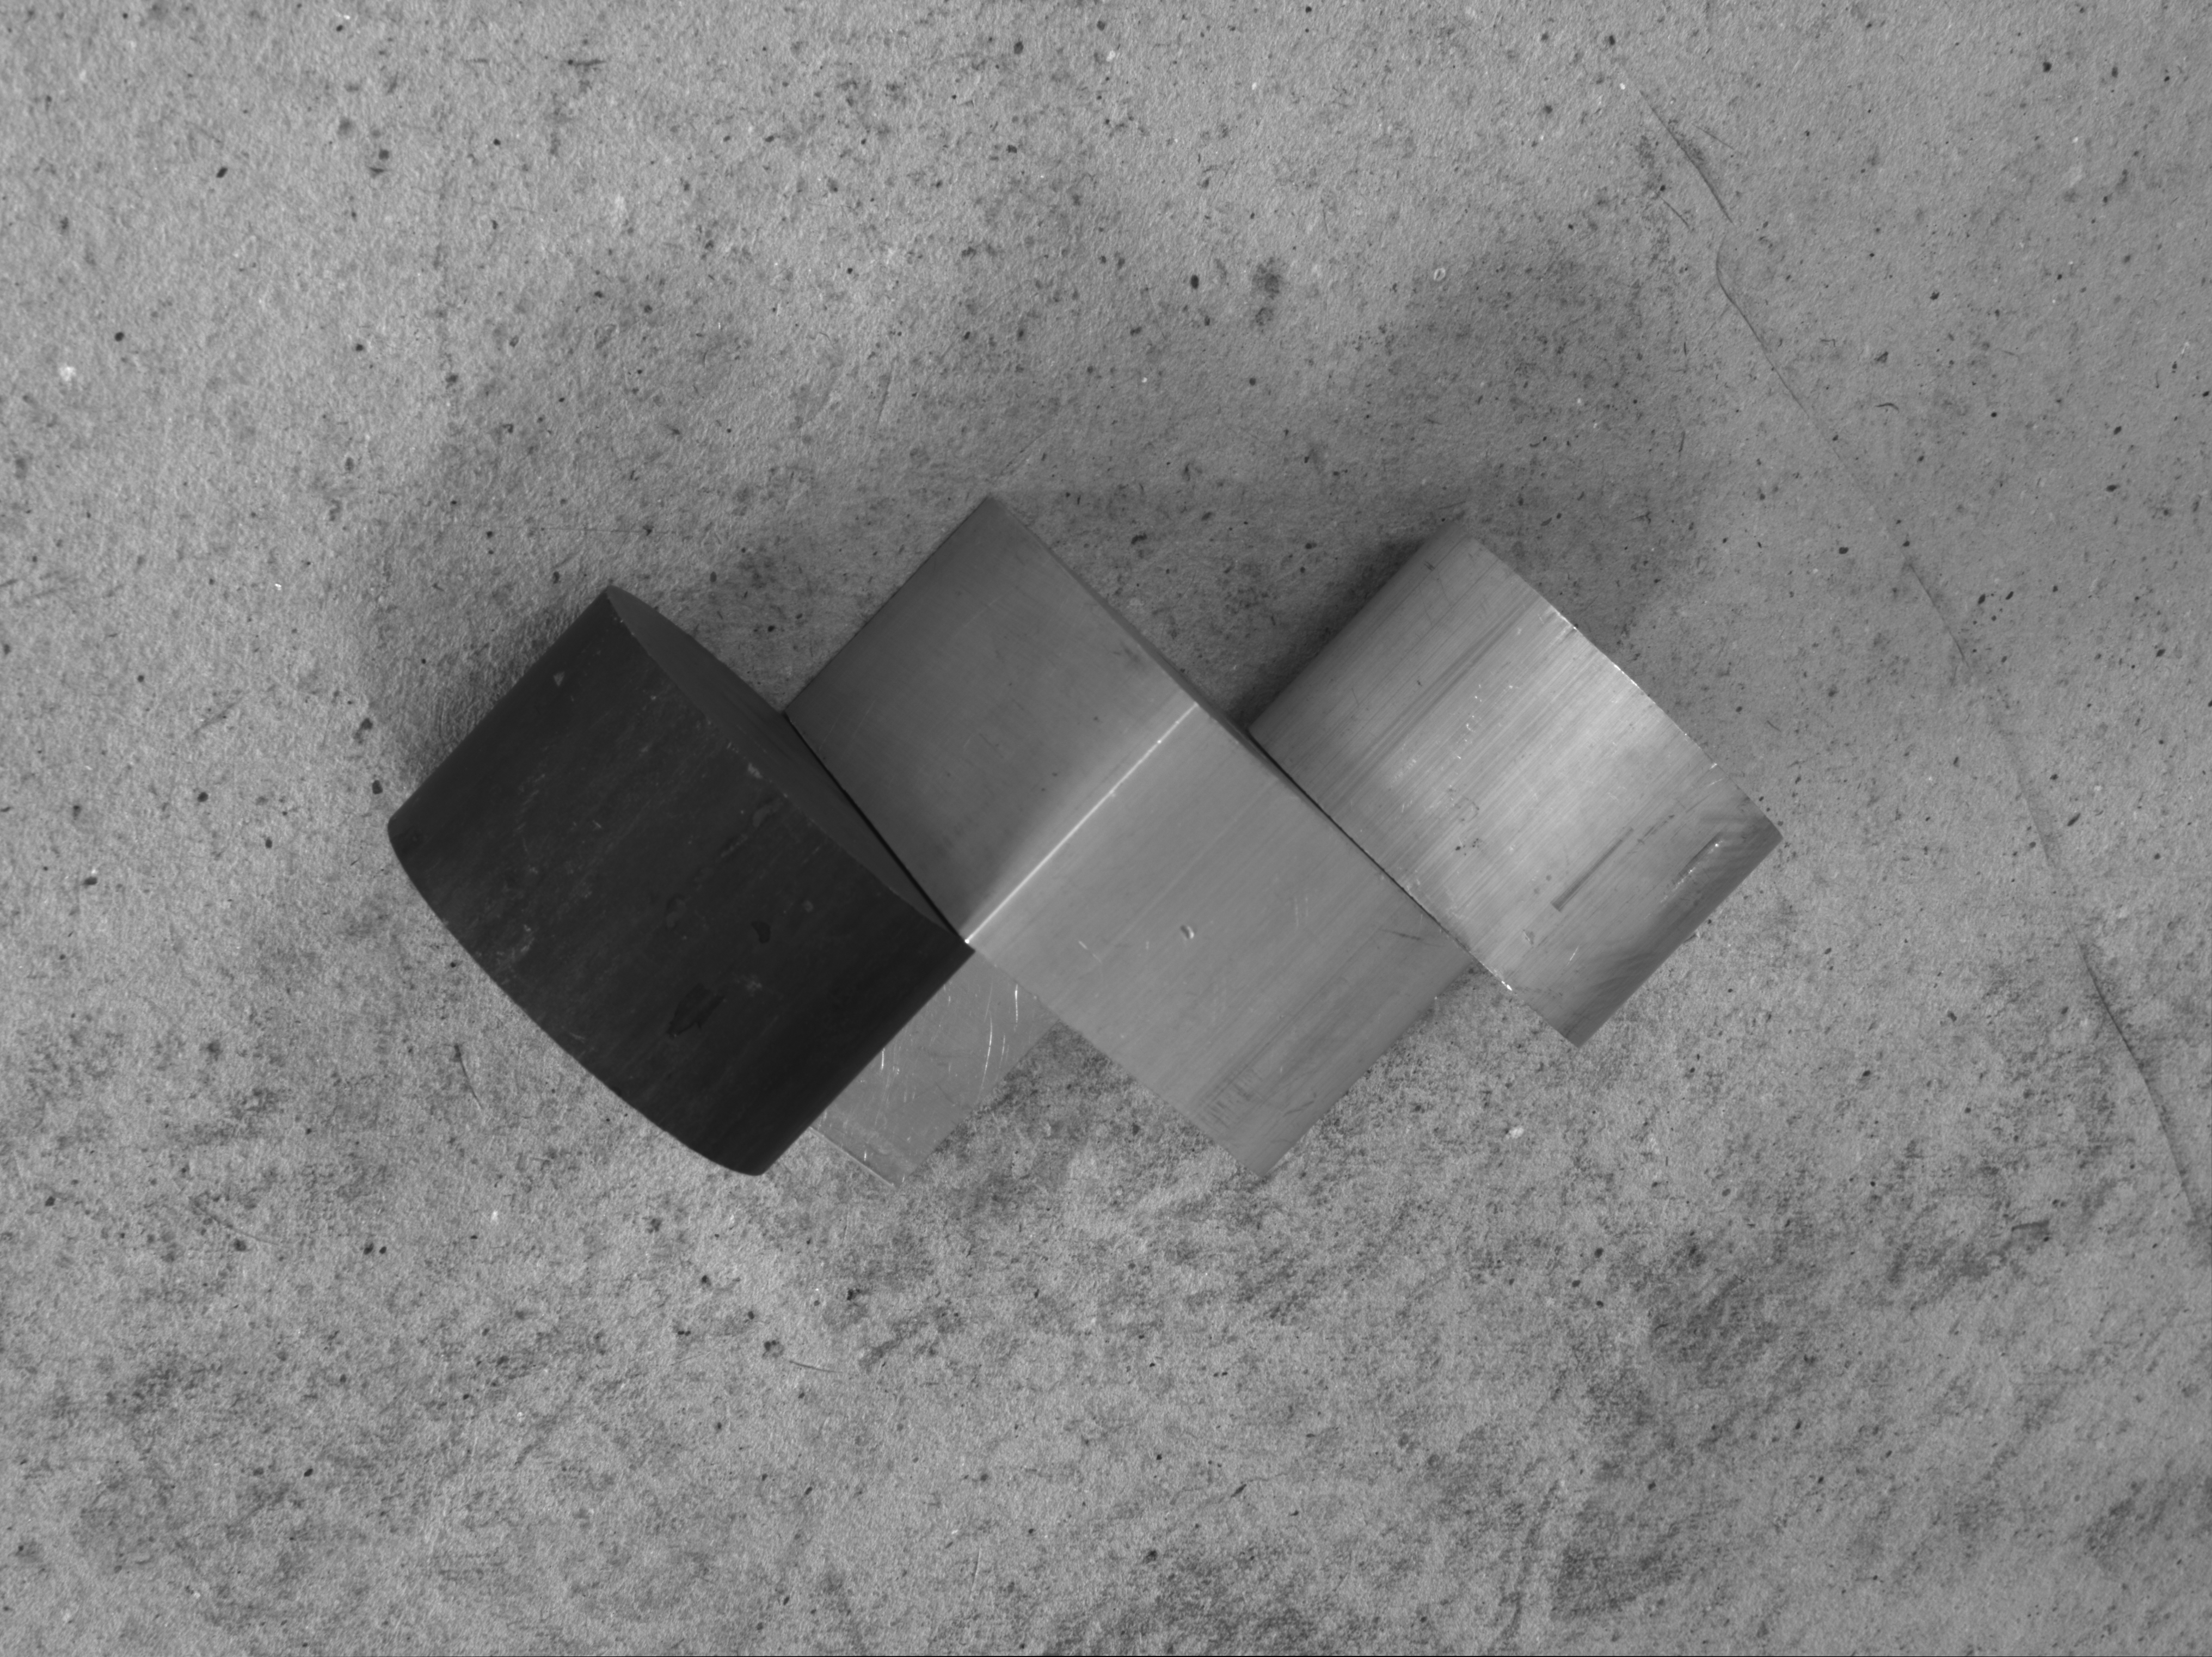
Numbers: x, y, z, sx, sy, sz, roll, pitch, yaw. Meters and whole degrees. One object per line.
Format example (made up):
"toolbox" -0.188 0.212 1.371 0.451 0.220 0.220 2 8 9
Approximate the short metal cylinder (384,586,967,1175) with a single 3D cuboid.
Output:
"short metal cylinder" -0.065 0.008 0.573 0.050 0.080 0.080 -46 129 4

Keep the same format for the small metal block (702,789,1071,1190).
"small metal block" -0.040 0.026 0.633 0.050 0.025 0.050 -46 129 4

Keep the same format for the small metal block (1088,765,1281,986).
"small metal block" 0.031 0.020 0.667 0.050 0.025 0.050 -46 129 4

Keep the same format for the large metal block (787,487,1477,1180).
"large metal block" 0.003 0.000 0.605 0.050 0.080 0.080 -47 129 4

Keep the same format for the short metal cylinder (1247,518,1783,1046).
"short metal cylinder" 0.070 -0.008 0.636 0.050 0.080 0.080 -46 129 4
